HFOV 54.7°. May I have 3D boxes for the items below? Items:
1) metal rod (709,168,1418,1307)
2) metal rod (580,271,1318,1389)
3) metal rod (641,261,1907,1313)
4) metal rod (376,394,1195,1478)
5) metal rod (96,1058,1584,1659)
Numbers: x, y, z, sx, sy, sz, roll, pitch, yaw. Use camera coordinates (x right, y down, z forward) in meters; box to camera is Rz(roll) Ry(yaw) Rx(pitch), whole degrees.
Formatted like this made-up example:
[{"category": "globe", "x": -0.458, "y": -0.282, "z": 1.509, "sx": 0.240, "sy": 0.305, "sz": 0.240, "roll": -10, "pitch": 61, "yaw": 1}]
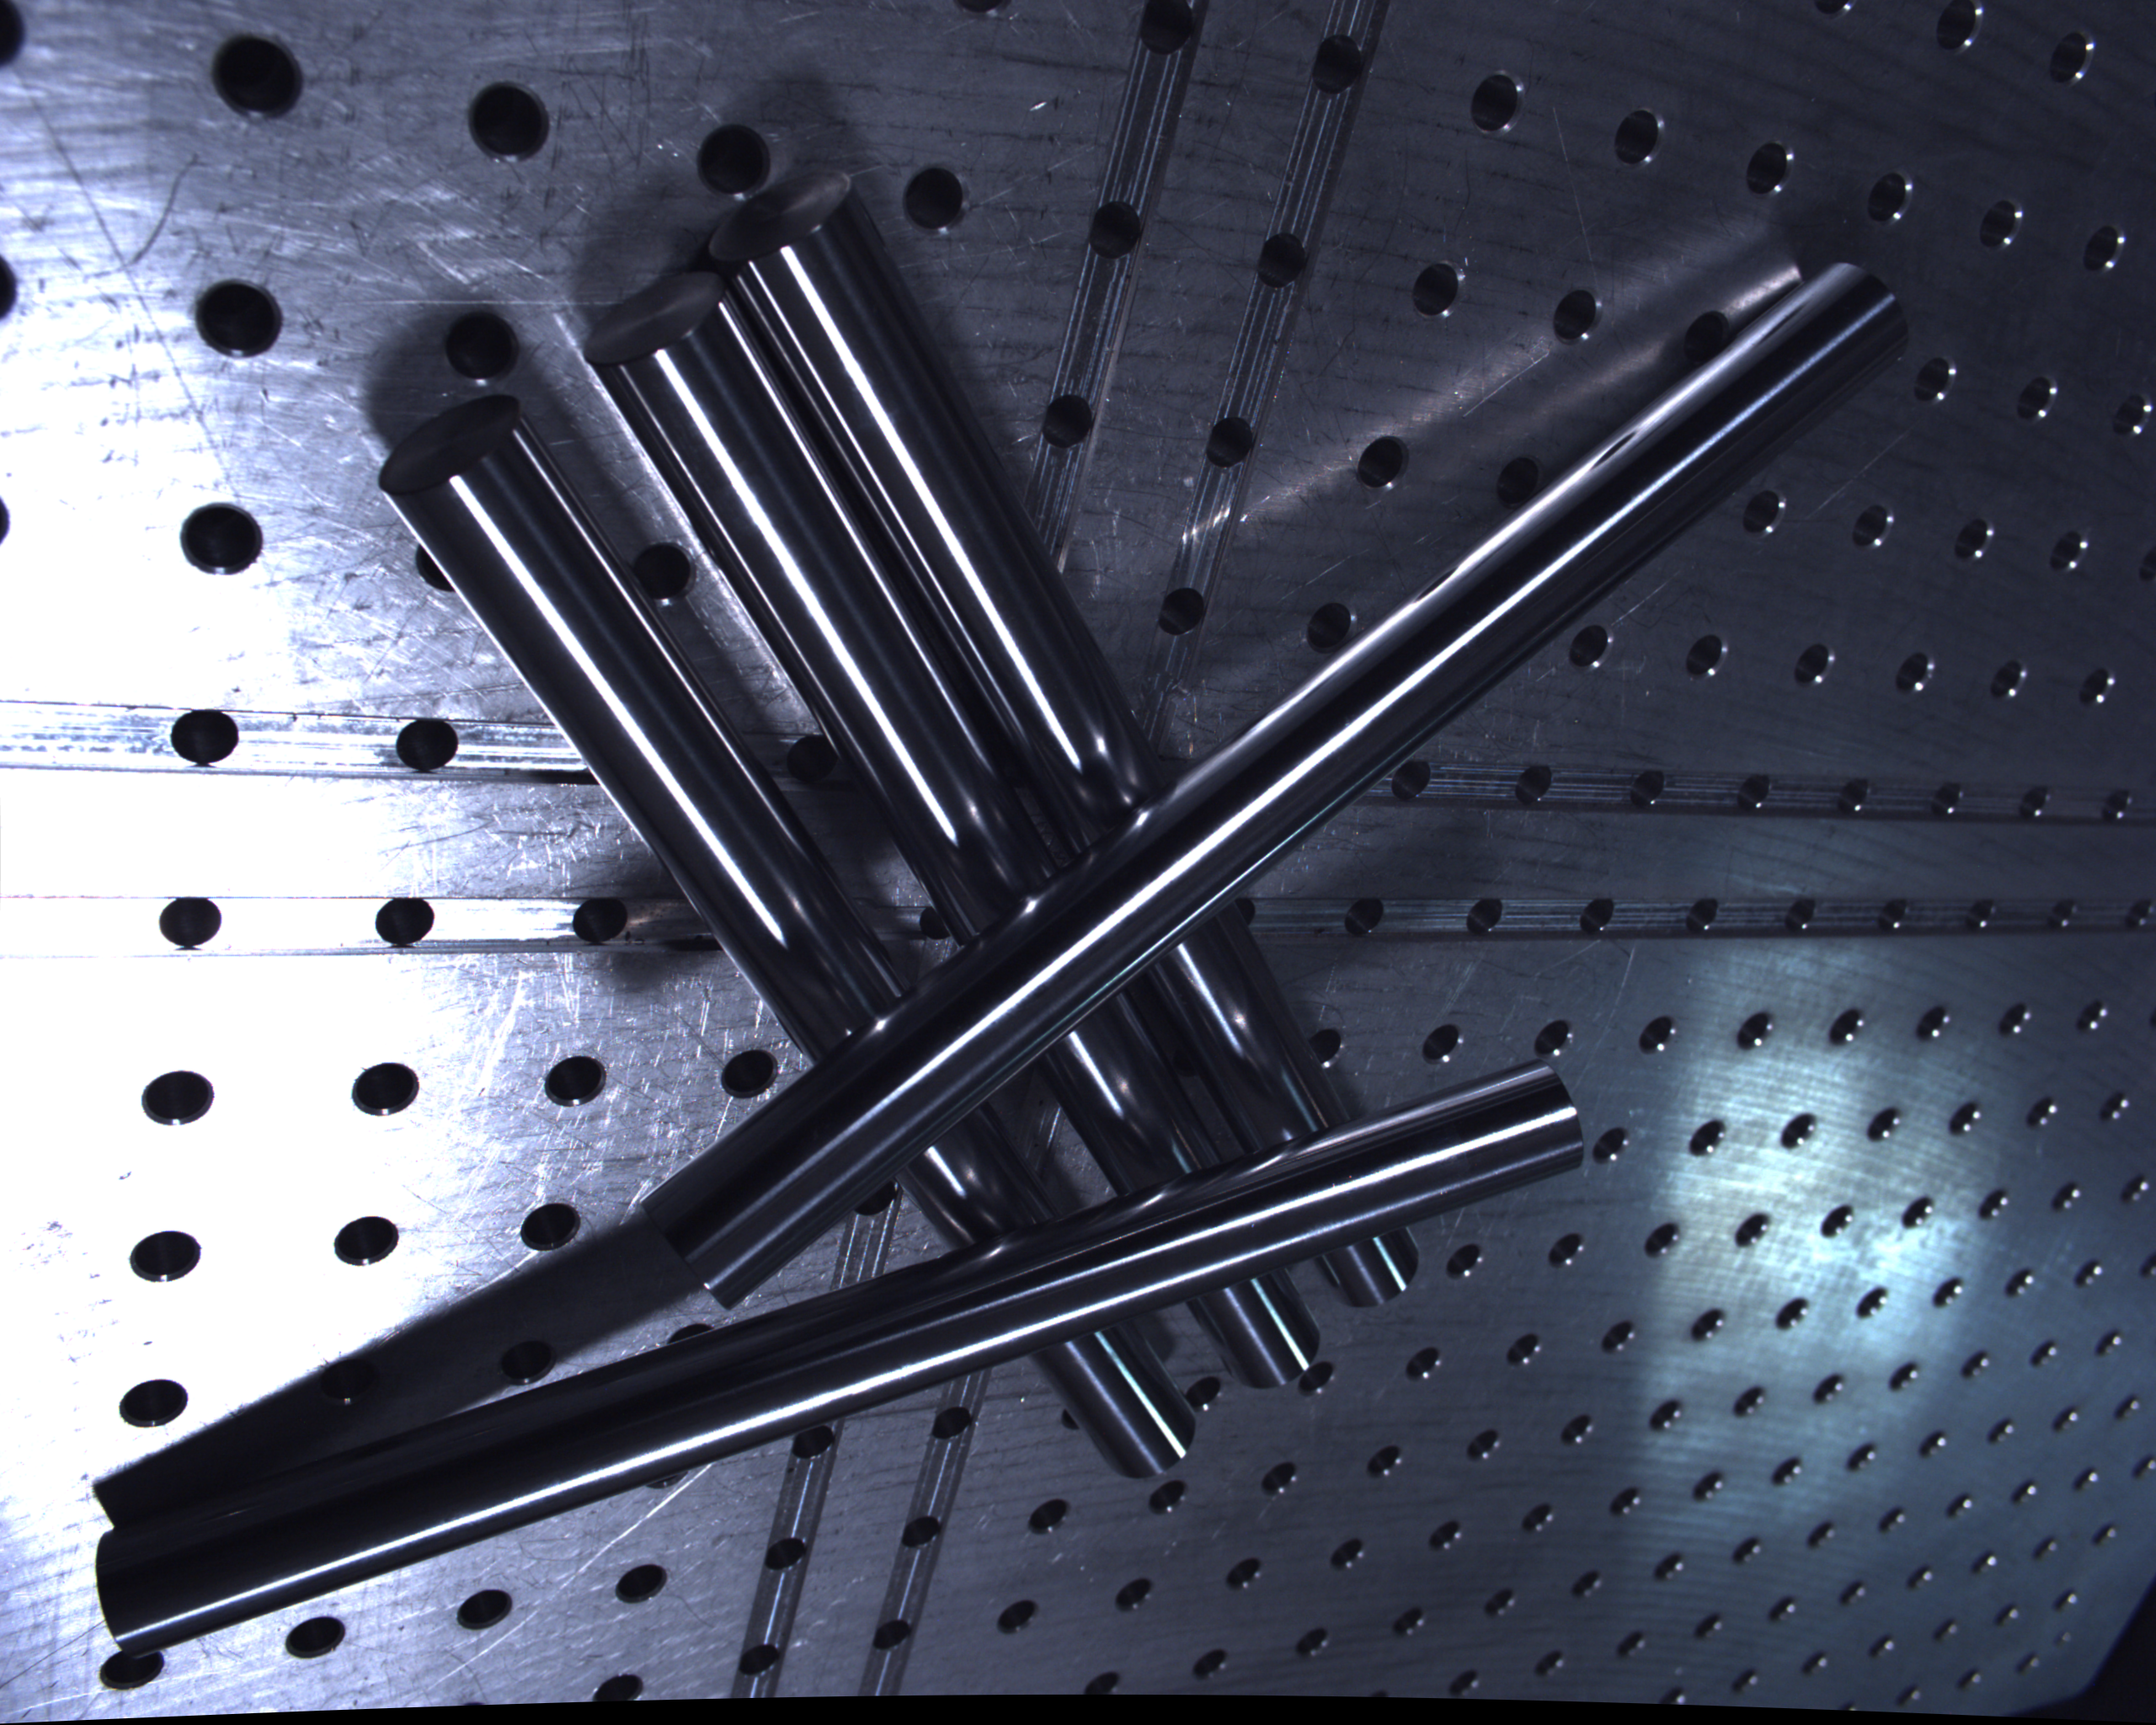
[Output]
[{"category": "metal rod", "x": 0.013, "y": -0.001, "z": 0.419, "sx": 0.025, "sy": 0.025, "sz": 0.299, "roll": -35, "pitch": 129, "yaw": -5}, {"category": "metal rod", "x": -0.009, "y": 0.017, "z": 0.418, "sx": 0.025, "sy": 0.025, "sz": 0.299, "roll": -34, "pitch": 129, "yaw": -6}, {"category": "metal rod", "x": 0.046, "y": -0.022, "z": 0.398, "sx": 0.301, "sy": 0.025, "sz": 0.025, "roll": -38, "pitch": 130, "yaw": -13}, {"category": "metal rod", "x": -0.040, "y": 0.037, "z": 0.414, "sx": 0.025, "sy": 0.025, "sz": 0.299, "roll": -34, "pitch": 129, "yaw": -6}, {"category": "metal rod", "x": -0.040, "y": 0.097, "z": 0.424, "sx": 0.302, "sy": 0.025, "sz": 0.025, "roll": -17, "pitch": 126, "yaw": -9}]
